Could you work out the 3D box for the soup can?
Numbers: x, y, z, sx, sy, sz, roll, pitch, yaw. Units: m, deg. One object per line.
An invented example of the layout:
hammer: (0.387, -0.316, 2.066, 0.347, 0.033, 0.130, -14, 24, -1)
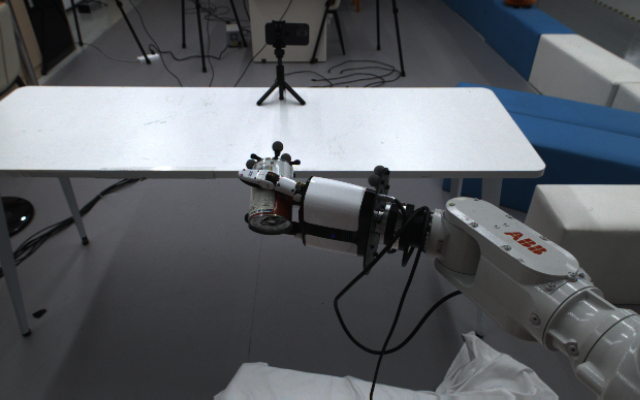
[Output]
soup can: (-0.075, -0.006, 0.745, 0.067, 0.067, 0.101, 1, 61, -2)
